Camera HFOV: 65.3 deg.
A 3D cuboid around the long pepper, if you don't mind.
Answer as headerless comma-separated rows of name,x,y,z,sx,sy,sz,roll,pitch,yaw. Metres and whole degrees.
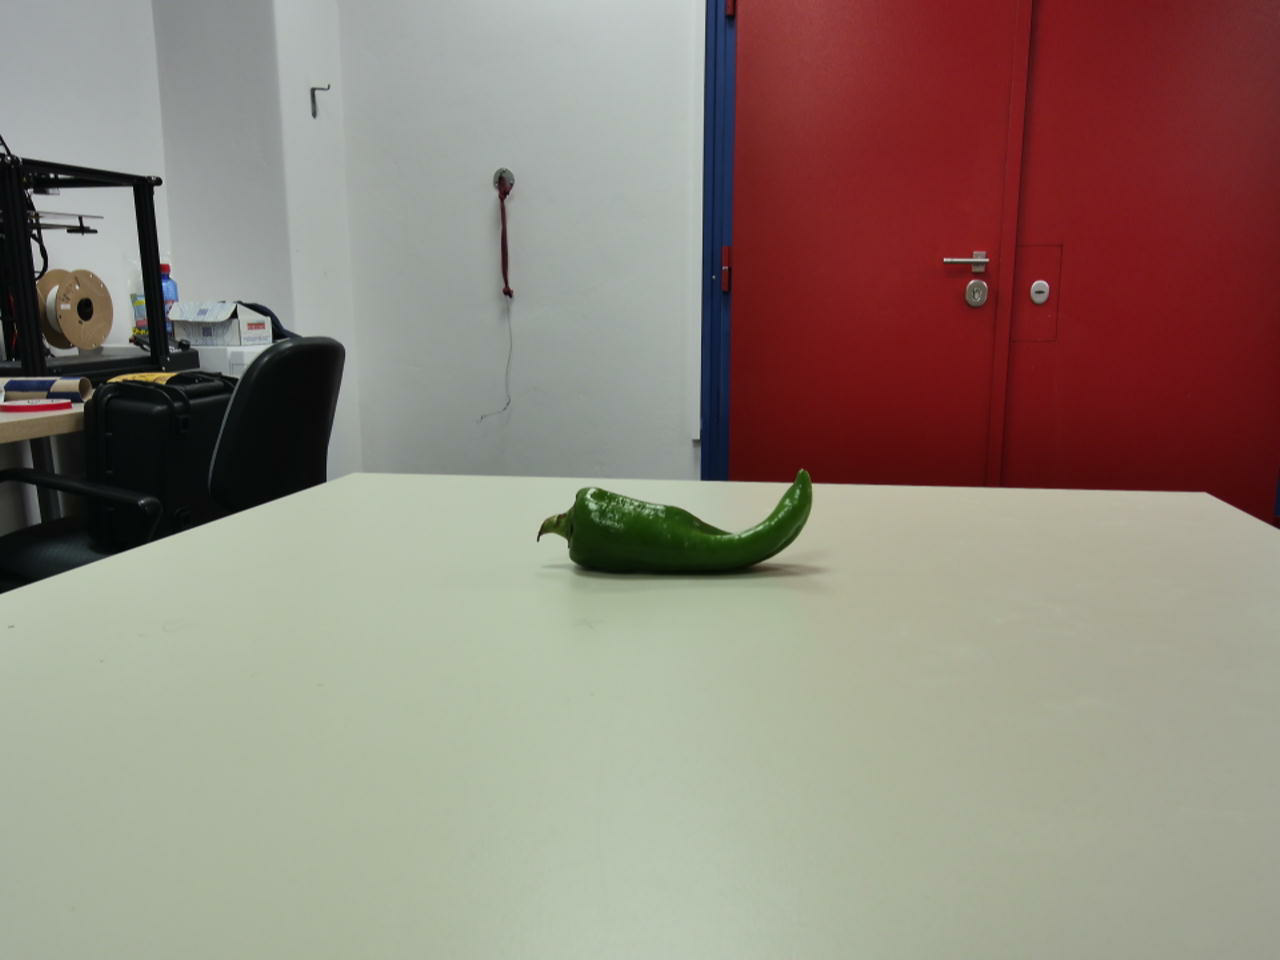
long pepper,0.020,0.025,0.632,0.175,0.065,0.058,1,8,10
